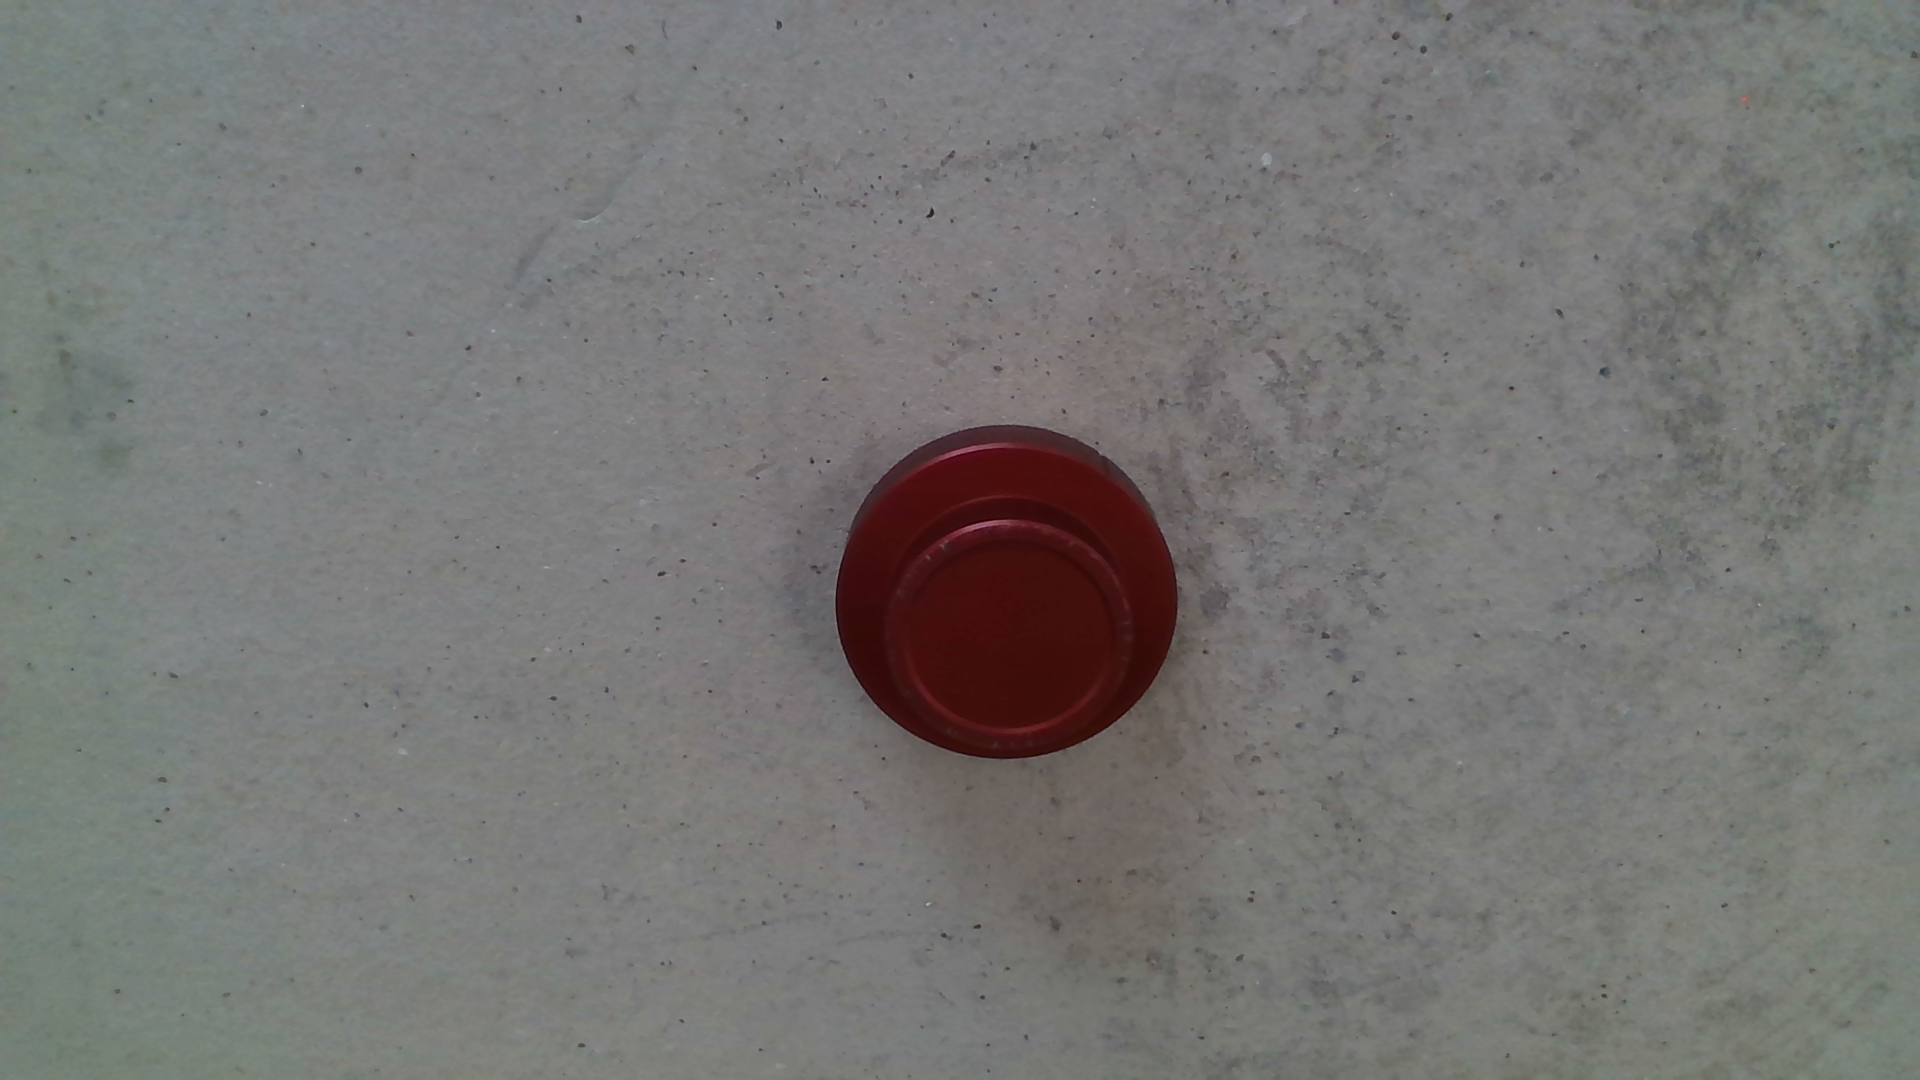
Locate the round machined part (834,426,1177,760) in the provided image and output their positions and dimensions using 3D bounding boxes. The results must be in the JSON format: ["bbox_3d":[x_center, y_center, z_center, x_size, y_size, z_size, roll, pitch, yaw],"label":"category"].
[{"bbox_3d":[0.013,0.020,0.392,0.098,0.042,0.098,0,110,0],"label":"round machined part"}]
